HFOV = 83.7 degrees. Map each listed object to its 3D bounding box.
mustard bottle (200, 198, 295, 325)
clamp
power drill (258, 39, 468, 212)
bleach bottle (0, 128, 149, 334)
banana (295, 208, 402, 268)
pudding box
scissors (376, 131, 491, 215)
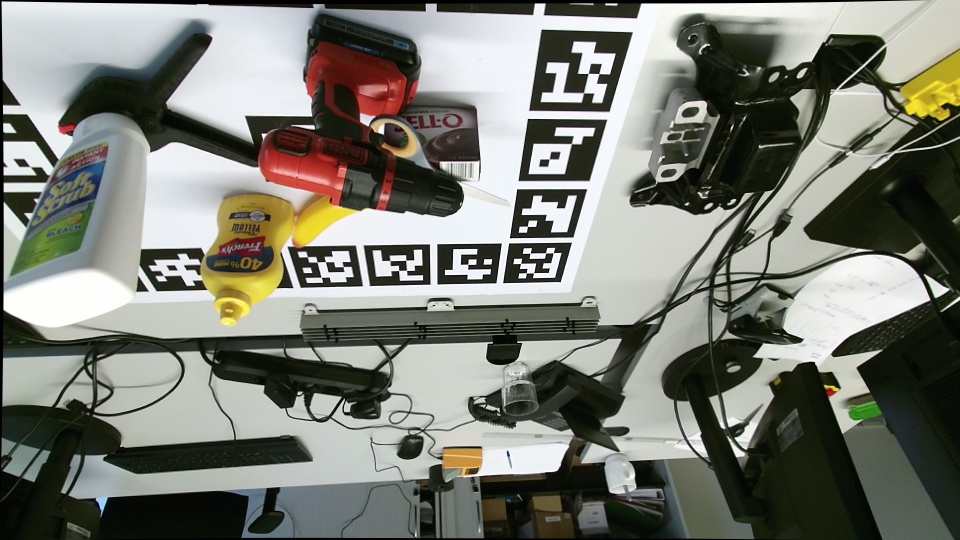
[{"bbox_3d":[-0.304,-0.010,0.693,0.096,0.190,0.058,8,138,-15],"label":"mustard bottle"},{"bbox_3d":[-0.374,-0.153,0.606,0.203,0.036,0.165,-5,137,1],"label":"clamp"},{"bbox_3d":[-0.108,-0.137,0.521,0.185,0.186,0.057,5,145,-17],"label":"power drill"},{"bbox_3d":[-0.402,-0.063,0.547,0.103,0.249,0.068,-19,142,4],"label":"bleach bottle"},{"bbox_3d":[-0.202,-0.053,0.755,0.198,0.038,0.074,-29,151,24],"label":"banana"},{"bbox_3d":[-0.059,-0.141,0.640,0.114,0.089,0.039,1,146,-8],"label":"pudding box"},{"bbox_3d":[-0.045,-0.089,0.604,0.203,0.016,0.088,19,130,-20],"label":"scissors"}]
